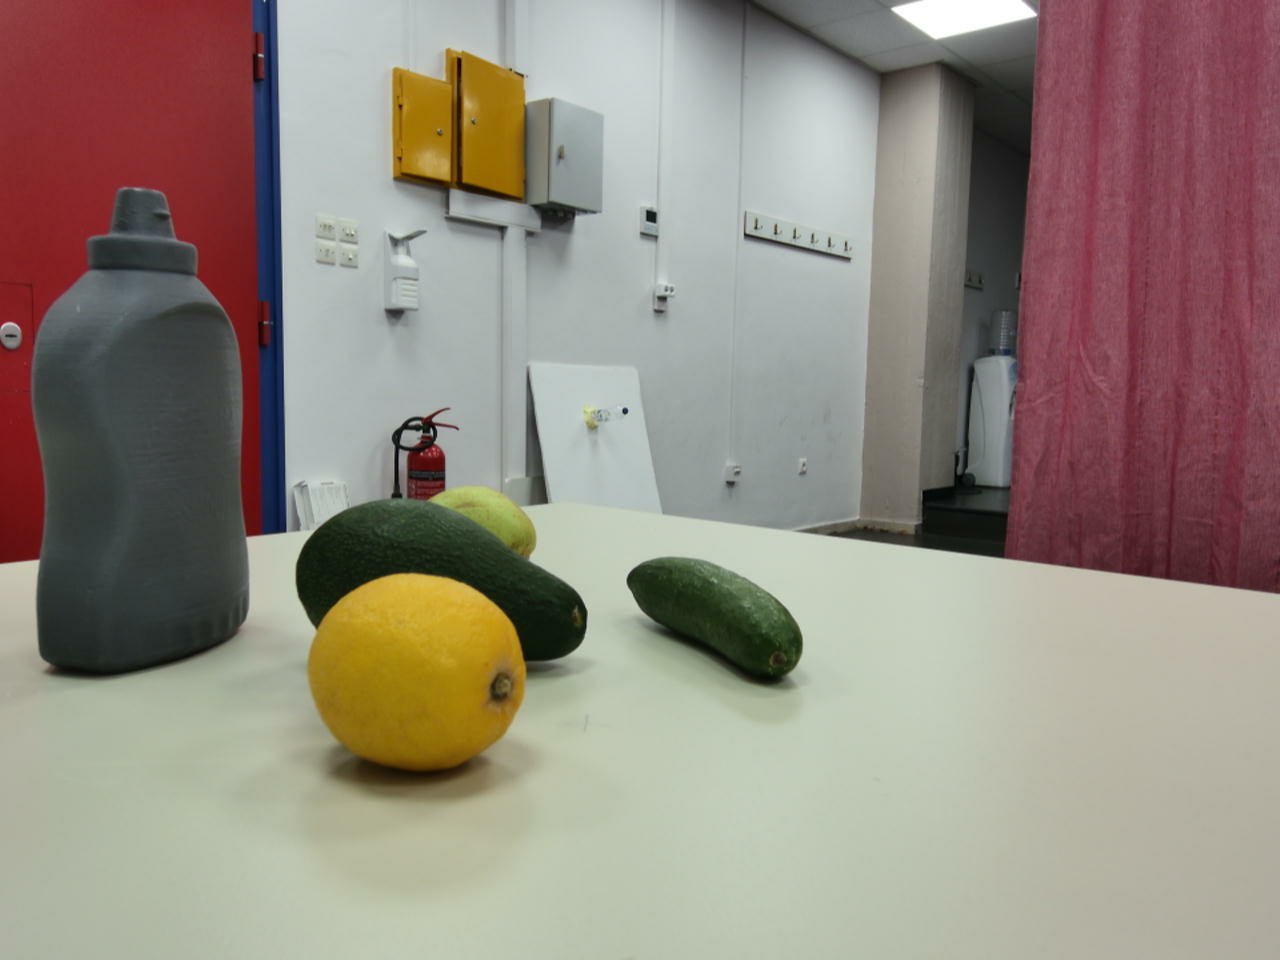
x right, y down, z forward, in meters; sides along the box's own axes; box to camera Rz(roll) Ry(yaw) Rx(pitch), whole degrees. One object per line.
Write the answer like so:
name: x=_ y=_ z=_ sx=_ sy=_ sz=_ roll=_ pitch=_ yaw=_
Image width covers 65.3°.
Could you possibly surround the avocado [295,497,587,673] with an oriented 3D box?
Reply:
avocado: x=-0.083 y=0.042 z=0.406 sx=0.110 sy=0.071 sz=0.072 roll=1 pitch=4 yaw=17
